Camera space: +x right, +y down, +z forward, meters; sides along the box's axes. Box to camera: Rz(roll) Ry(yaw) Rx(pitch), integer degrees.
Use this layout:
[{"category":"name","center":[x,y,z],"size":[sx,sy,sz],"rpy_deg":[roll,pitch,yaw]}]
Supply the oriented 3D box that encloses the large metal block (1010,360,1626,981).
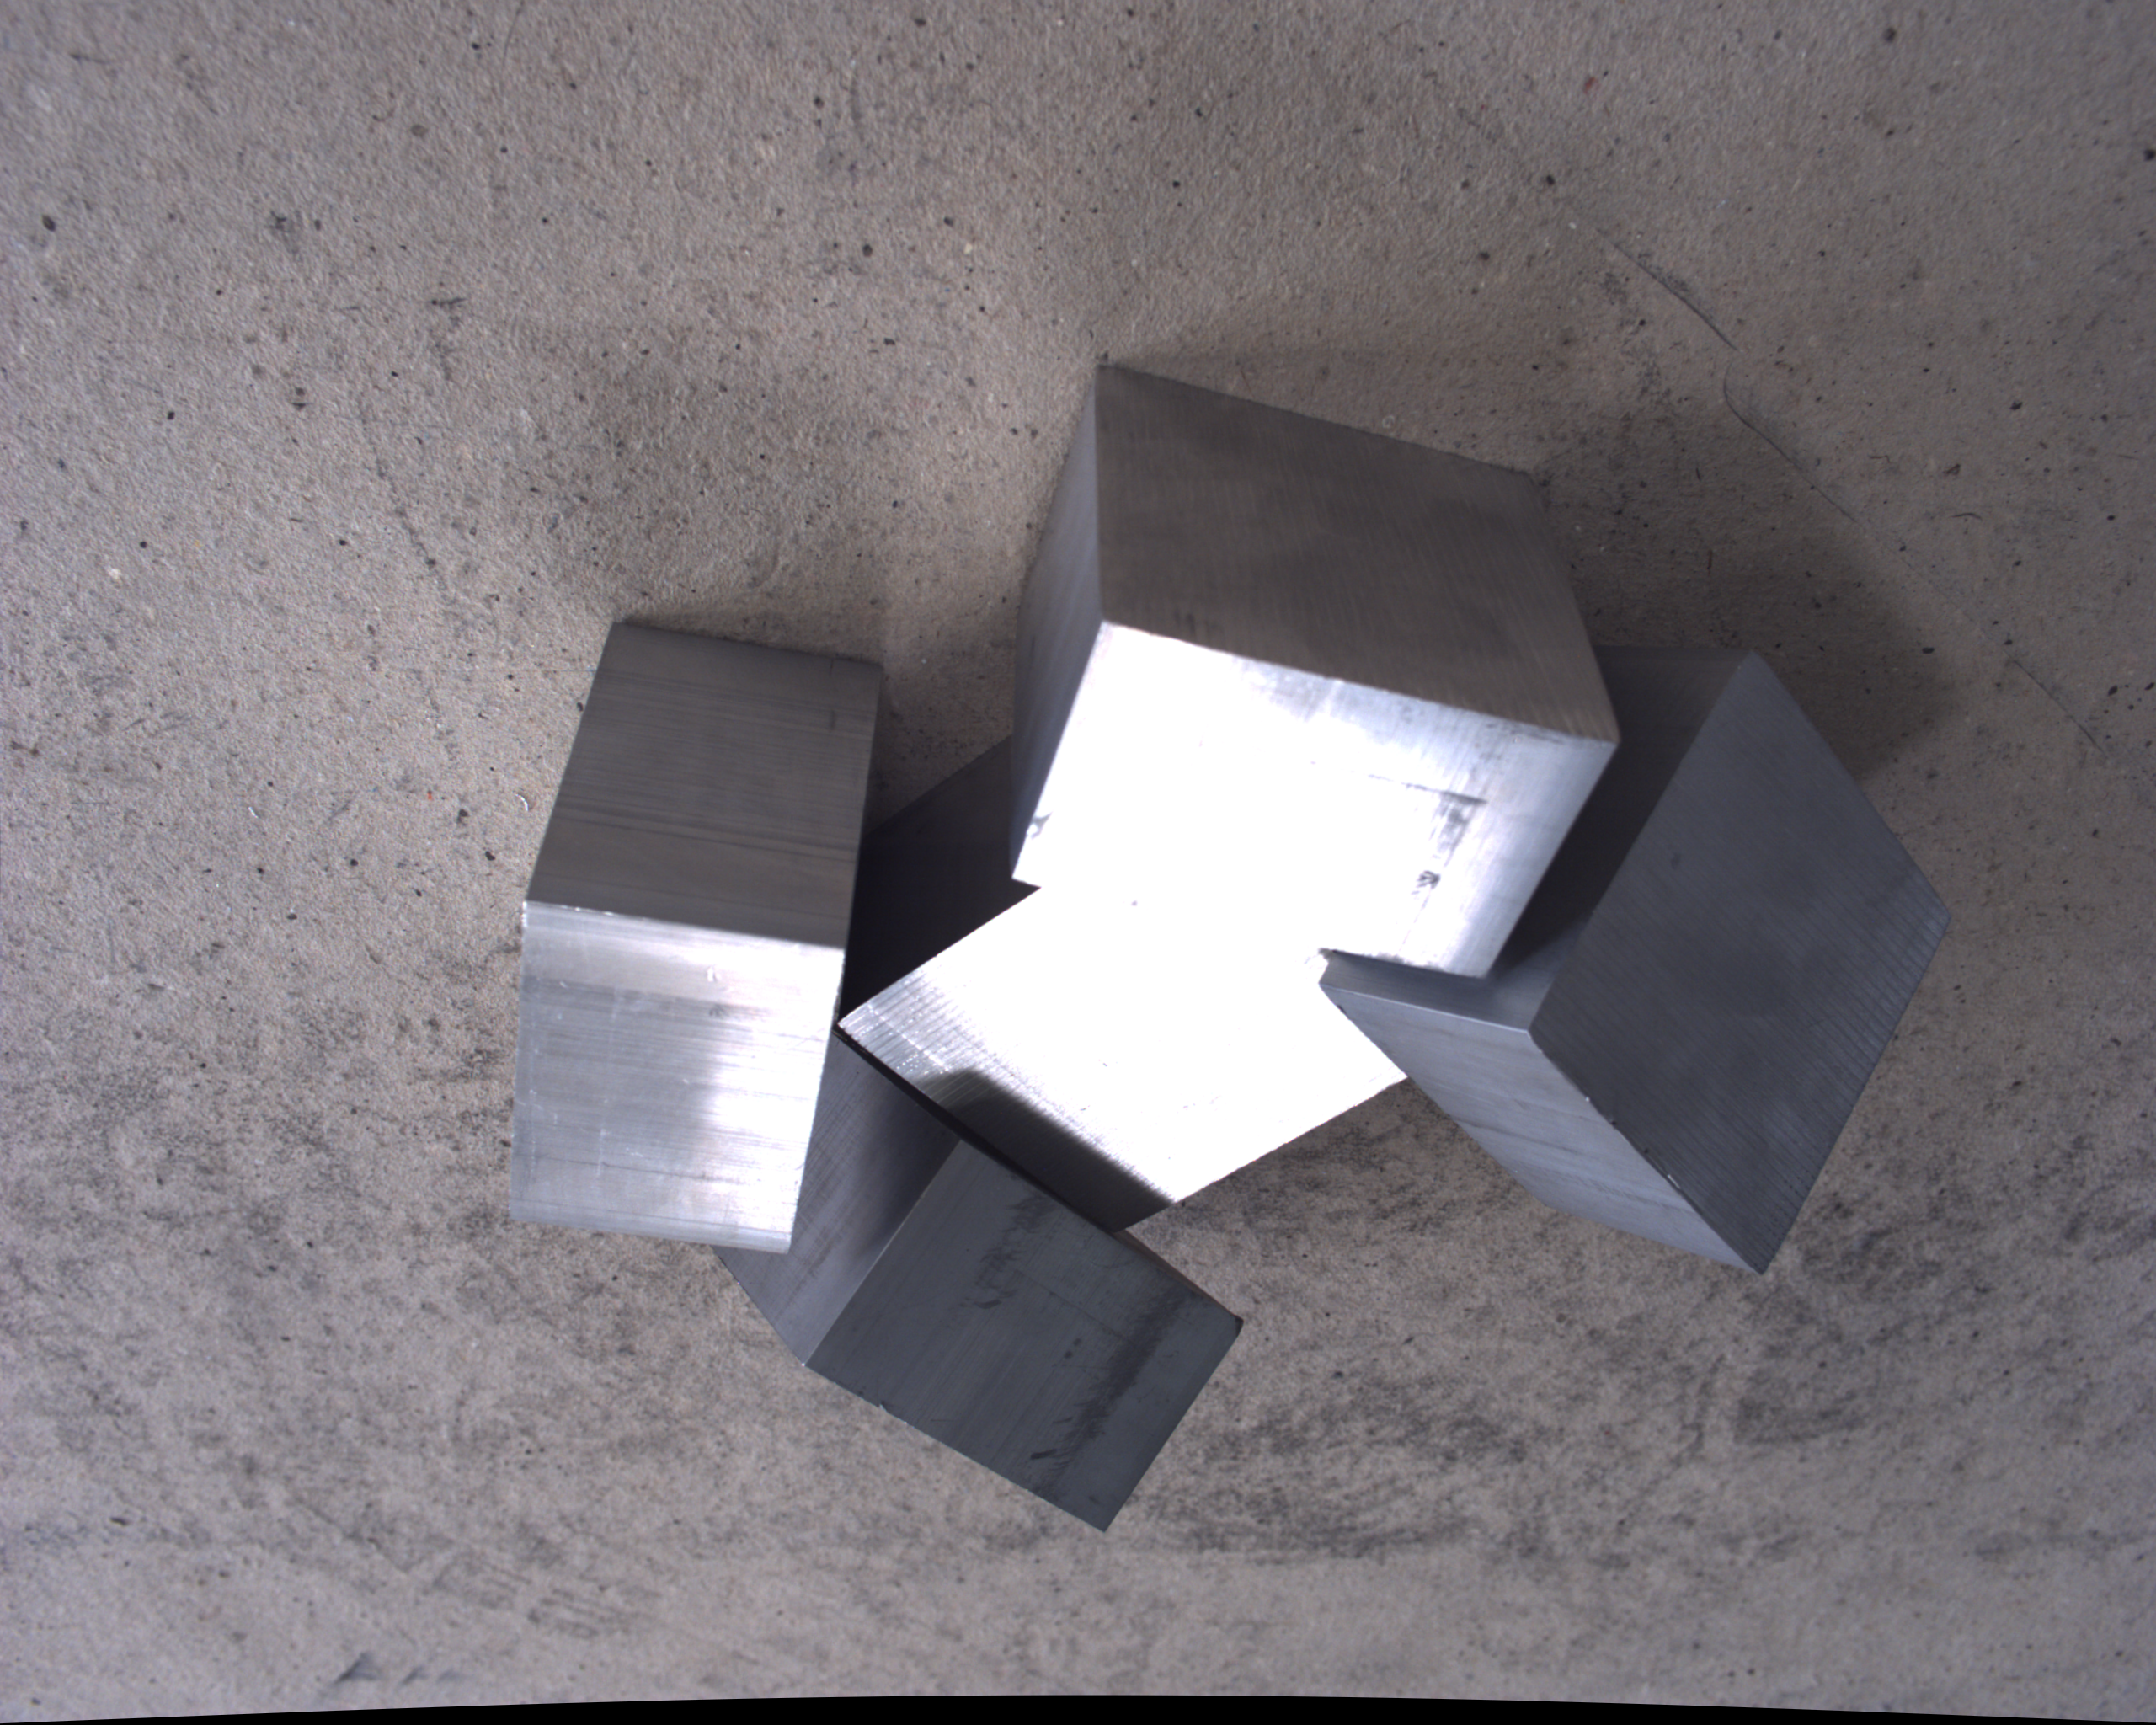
[{"category":"large metal block","center":[0.035,-0.033,0.345],"size":[0.081,0.080,0.050],"rpy_deg":[12,129,-10]}]

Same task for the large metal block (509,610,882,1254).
[{"category":"large metal block","center":[-0.070,0.013,0.384],"size":[0.050,0.080,0.079],"rpy_deg":[9,130,-8]}]

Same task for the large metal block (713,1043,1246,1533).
[{"category":"large metal block","center":[-0.026,0.084,0.436],"size":[0.080,0.080,0.050],"rpy_deg":[38,84,-28]}]

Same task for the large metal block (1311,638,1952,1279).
[{"category":"large metal block","center":[0.102,0.016,0.379],"size":[0.080,0.080,0.050],"rpy_deg":[43,162,-30]}]

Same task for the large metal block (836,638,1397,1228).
[{"category":"large metal block","center":[0.012,0.016,0.404],"size":[0.080,0.050,0.080],"rpy_deg":[-33,124,25]}]
